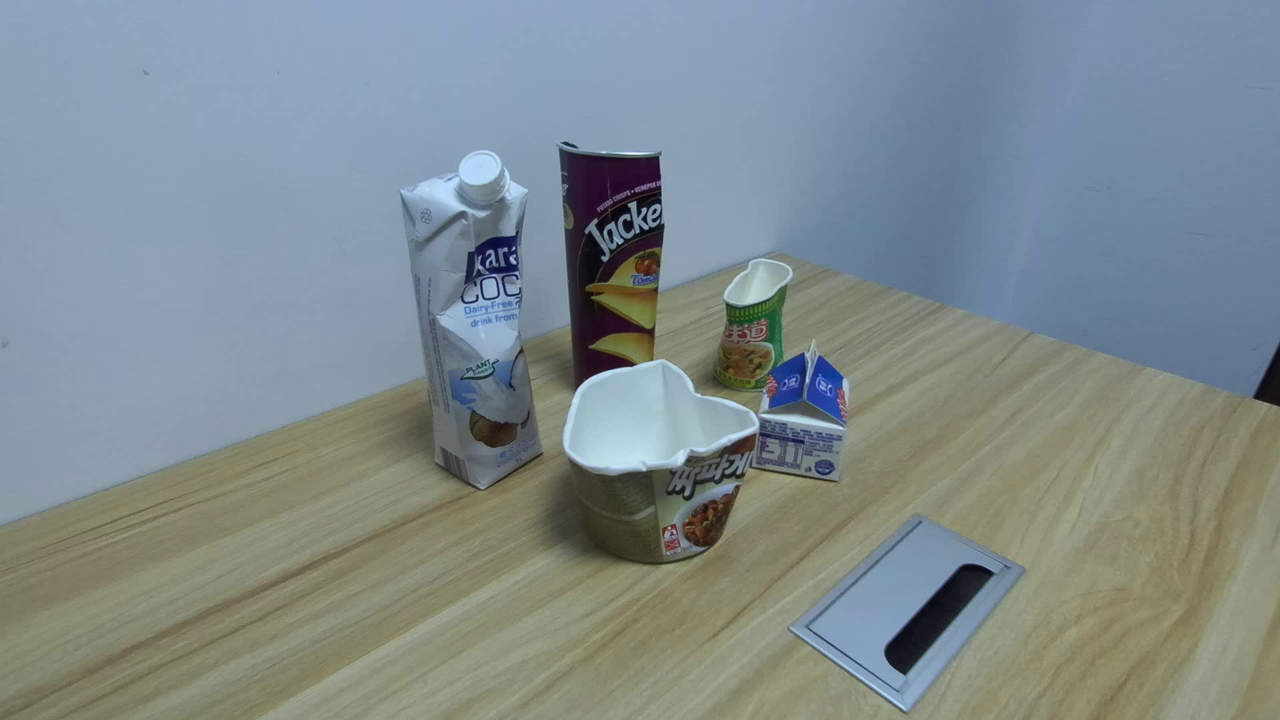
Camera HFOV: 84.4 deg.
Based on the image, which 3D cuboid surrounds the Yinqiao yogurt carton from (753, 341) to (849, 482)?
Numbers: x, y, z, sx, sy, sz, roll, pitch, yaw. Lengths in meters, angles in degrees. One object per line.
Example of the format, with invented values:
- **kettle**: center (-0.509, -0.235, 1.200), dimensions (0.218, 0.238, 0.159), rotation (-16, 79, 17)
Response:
- **Yinqiao yogurt carton**: center (0.135, 0.038, 0.582), dimensions (0.073, 0.092, 0.075), rotation (8, 29, 14)

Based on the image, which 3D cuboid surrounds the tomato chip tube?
- **tomato chip tube**: center (-0.025, -0.074, 0.641), dimensions (0.076, 0.235, 0.077), rotation (-10, 28, -19)

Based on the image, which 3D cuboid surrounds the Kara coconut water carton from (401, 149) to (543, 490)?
- **Kara coconut water carton**: center (-0.125, -0.029, 0.534), dimensions (0.083, 0.255, 0.078), rotation (-20, 35, -34)

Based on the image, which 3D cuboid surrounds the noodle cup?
- **noodle cup**: center (0.109, -0.031, 0.688), dimensions (0.070, 0.111, 0.115), rotation (25, 36, 37)

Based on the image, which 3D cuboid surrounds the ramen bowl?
- **ramen bowl**: center (0.004, 0.075, 0.503), dimensions (0.134, 0.097, 0.113), rotation (-20, 36, -36)
